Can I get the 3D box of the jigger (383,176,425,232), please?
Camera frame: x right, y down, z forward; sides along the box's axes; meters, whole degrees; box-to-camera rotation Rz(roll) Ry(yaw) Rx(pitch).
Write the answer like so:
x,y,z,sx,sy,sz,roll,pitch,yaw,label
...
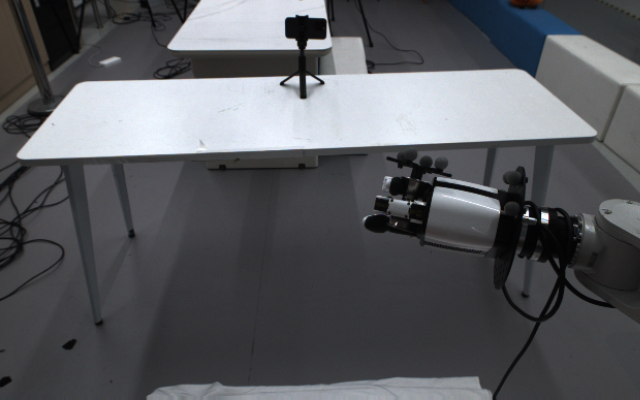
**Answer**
x,y,z,sx,sy,sz,roll,pitch,yaw,label
0.118,0.004,0.645,0.043,0.071,0.043,17,2,-1,jigger
